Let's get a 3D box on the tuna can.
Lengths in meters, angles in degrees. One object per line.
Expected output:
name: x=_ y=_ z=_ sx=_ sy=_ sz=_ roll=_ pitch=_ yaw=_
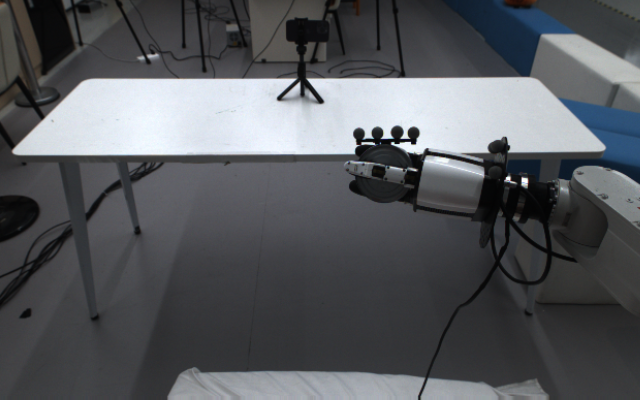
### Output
tuna can: x=0.097 y=-0.040 z=0.713 sx=0.085 sy=0.085 sz=0.034 roll=13 pitch=7 yaw=15
